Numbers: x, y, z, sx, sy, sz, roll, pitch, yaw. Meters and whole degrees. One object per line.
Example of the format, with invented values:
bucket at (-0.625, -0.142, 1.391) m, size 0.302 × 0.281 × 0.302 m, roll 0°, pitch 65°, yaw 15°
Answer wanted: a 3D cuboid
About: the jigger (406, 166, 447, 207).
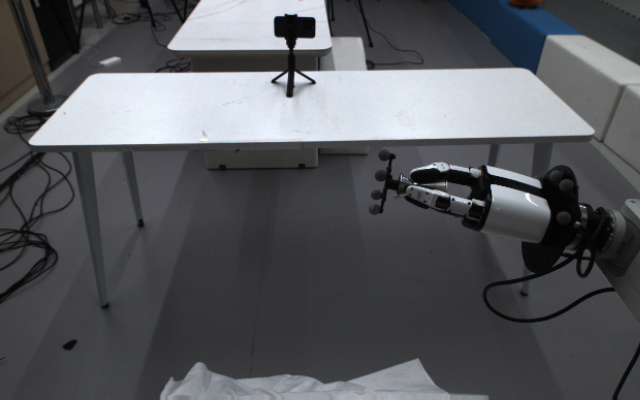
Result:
jigger at (0.153, -0.017, 0.708) m, size 0.071 × 0.043 × 0.043 m, roll 11°, pitch 35°, yaw 4°
